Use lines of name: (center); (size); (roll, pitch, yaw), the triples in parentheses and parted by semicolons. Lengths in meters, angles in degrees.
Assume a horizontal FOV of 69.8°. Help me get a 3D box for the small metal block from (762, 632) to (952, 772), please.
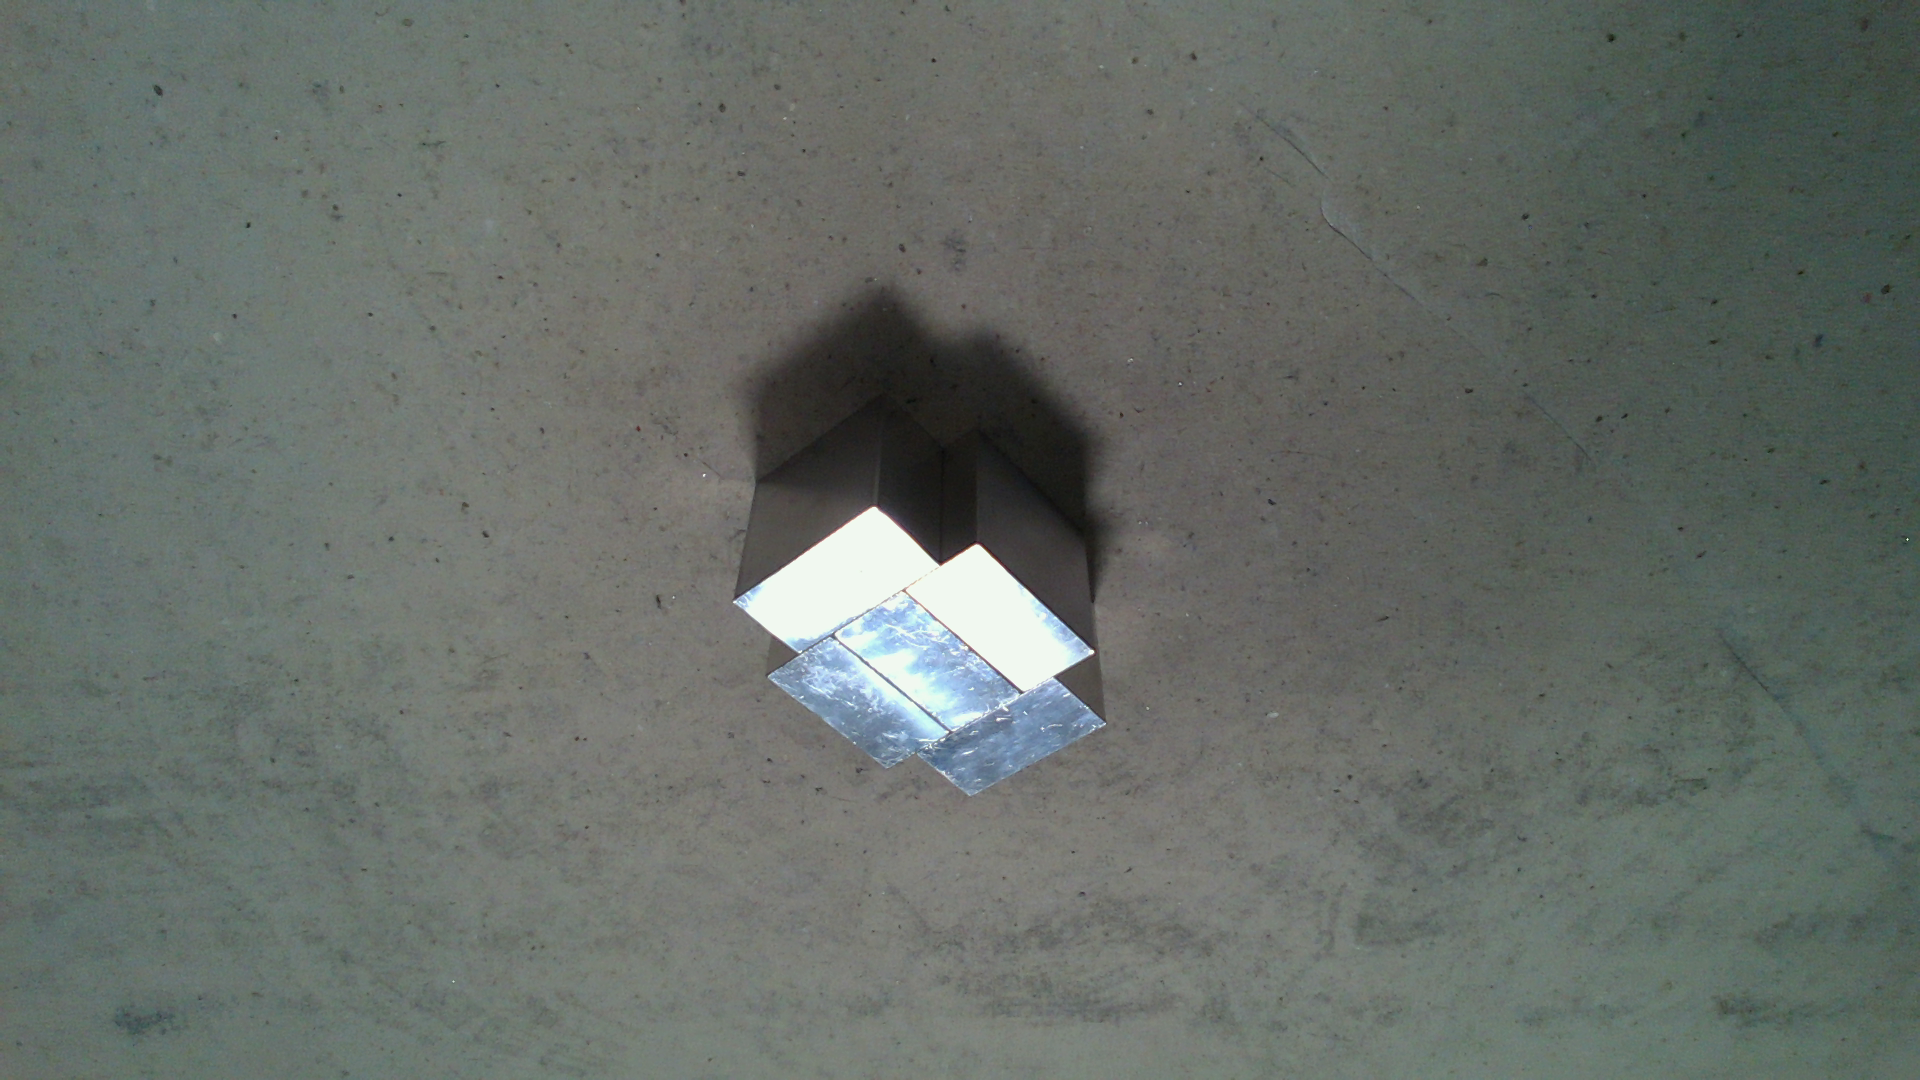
small metal block: (-0.028, 0.030, 0.399); (0.025, 0.050, 0.050); (-32, 123, 24)

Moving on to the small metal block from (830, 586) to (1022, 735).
small metal block: (-0.009, 0.018, 0.389); (0.025, 0.050, 0.050); (-32, 123, 24)

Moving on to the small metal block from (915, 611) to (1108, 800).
small metal block: (0.014, 0.041, 0.408); (0.050, 0.050, 0.025); (-32, 123, 24)

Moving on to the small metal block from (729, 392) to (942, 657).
small metal block: (-0.032, -0.004, 0.370); (0.050, 0.050, 0.025); (-32, 123, 24)

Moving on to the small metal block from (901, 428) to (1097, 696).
small metal block: (0.011, 0.006, 0.379); (0.025, 0.050, 0.050); (-33, 123, 25)
